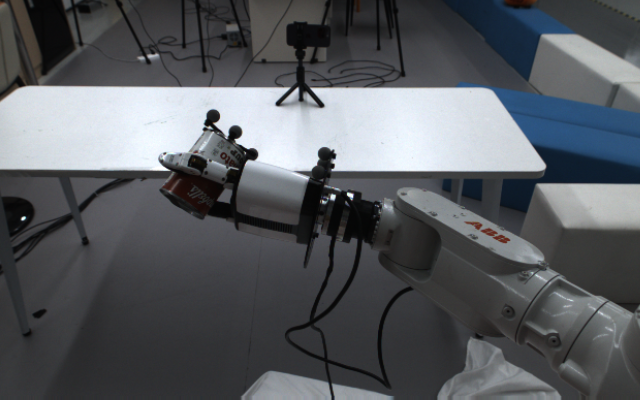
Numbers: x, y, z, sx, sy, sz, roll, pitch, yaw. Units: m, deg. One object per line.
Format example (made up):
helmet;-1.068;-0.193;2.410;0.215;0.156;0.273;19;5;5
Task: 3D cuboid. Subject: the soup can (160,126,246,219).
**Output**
soup can;-0.152;-0.033;0.635;0.067;0.067;0.101;24;72;28
